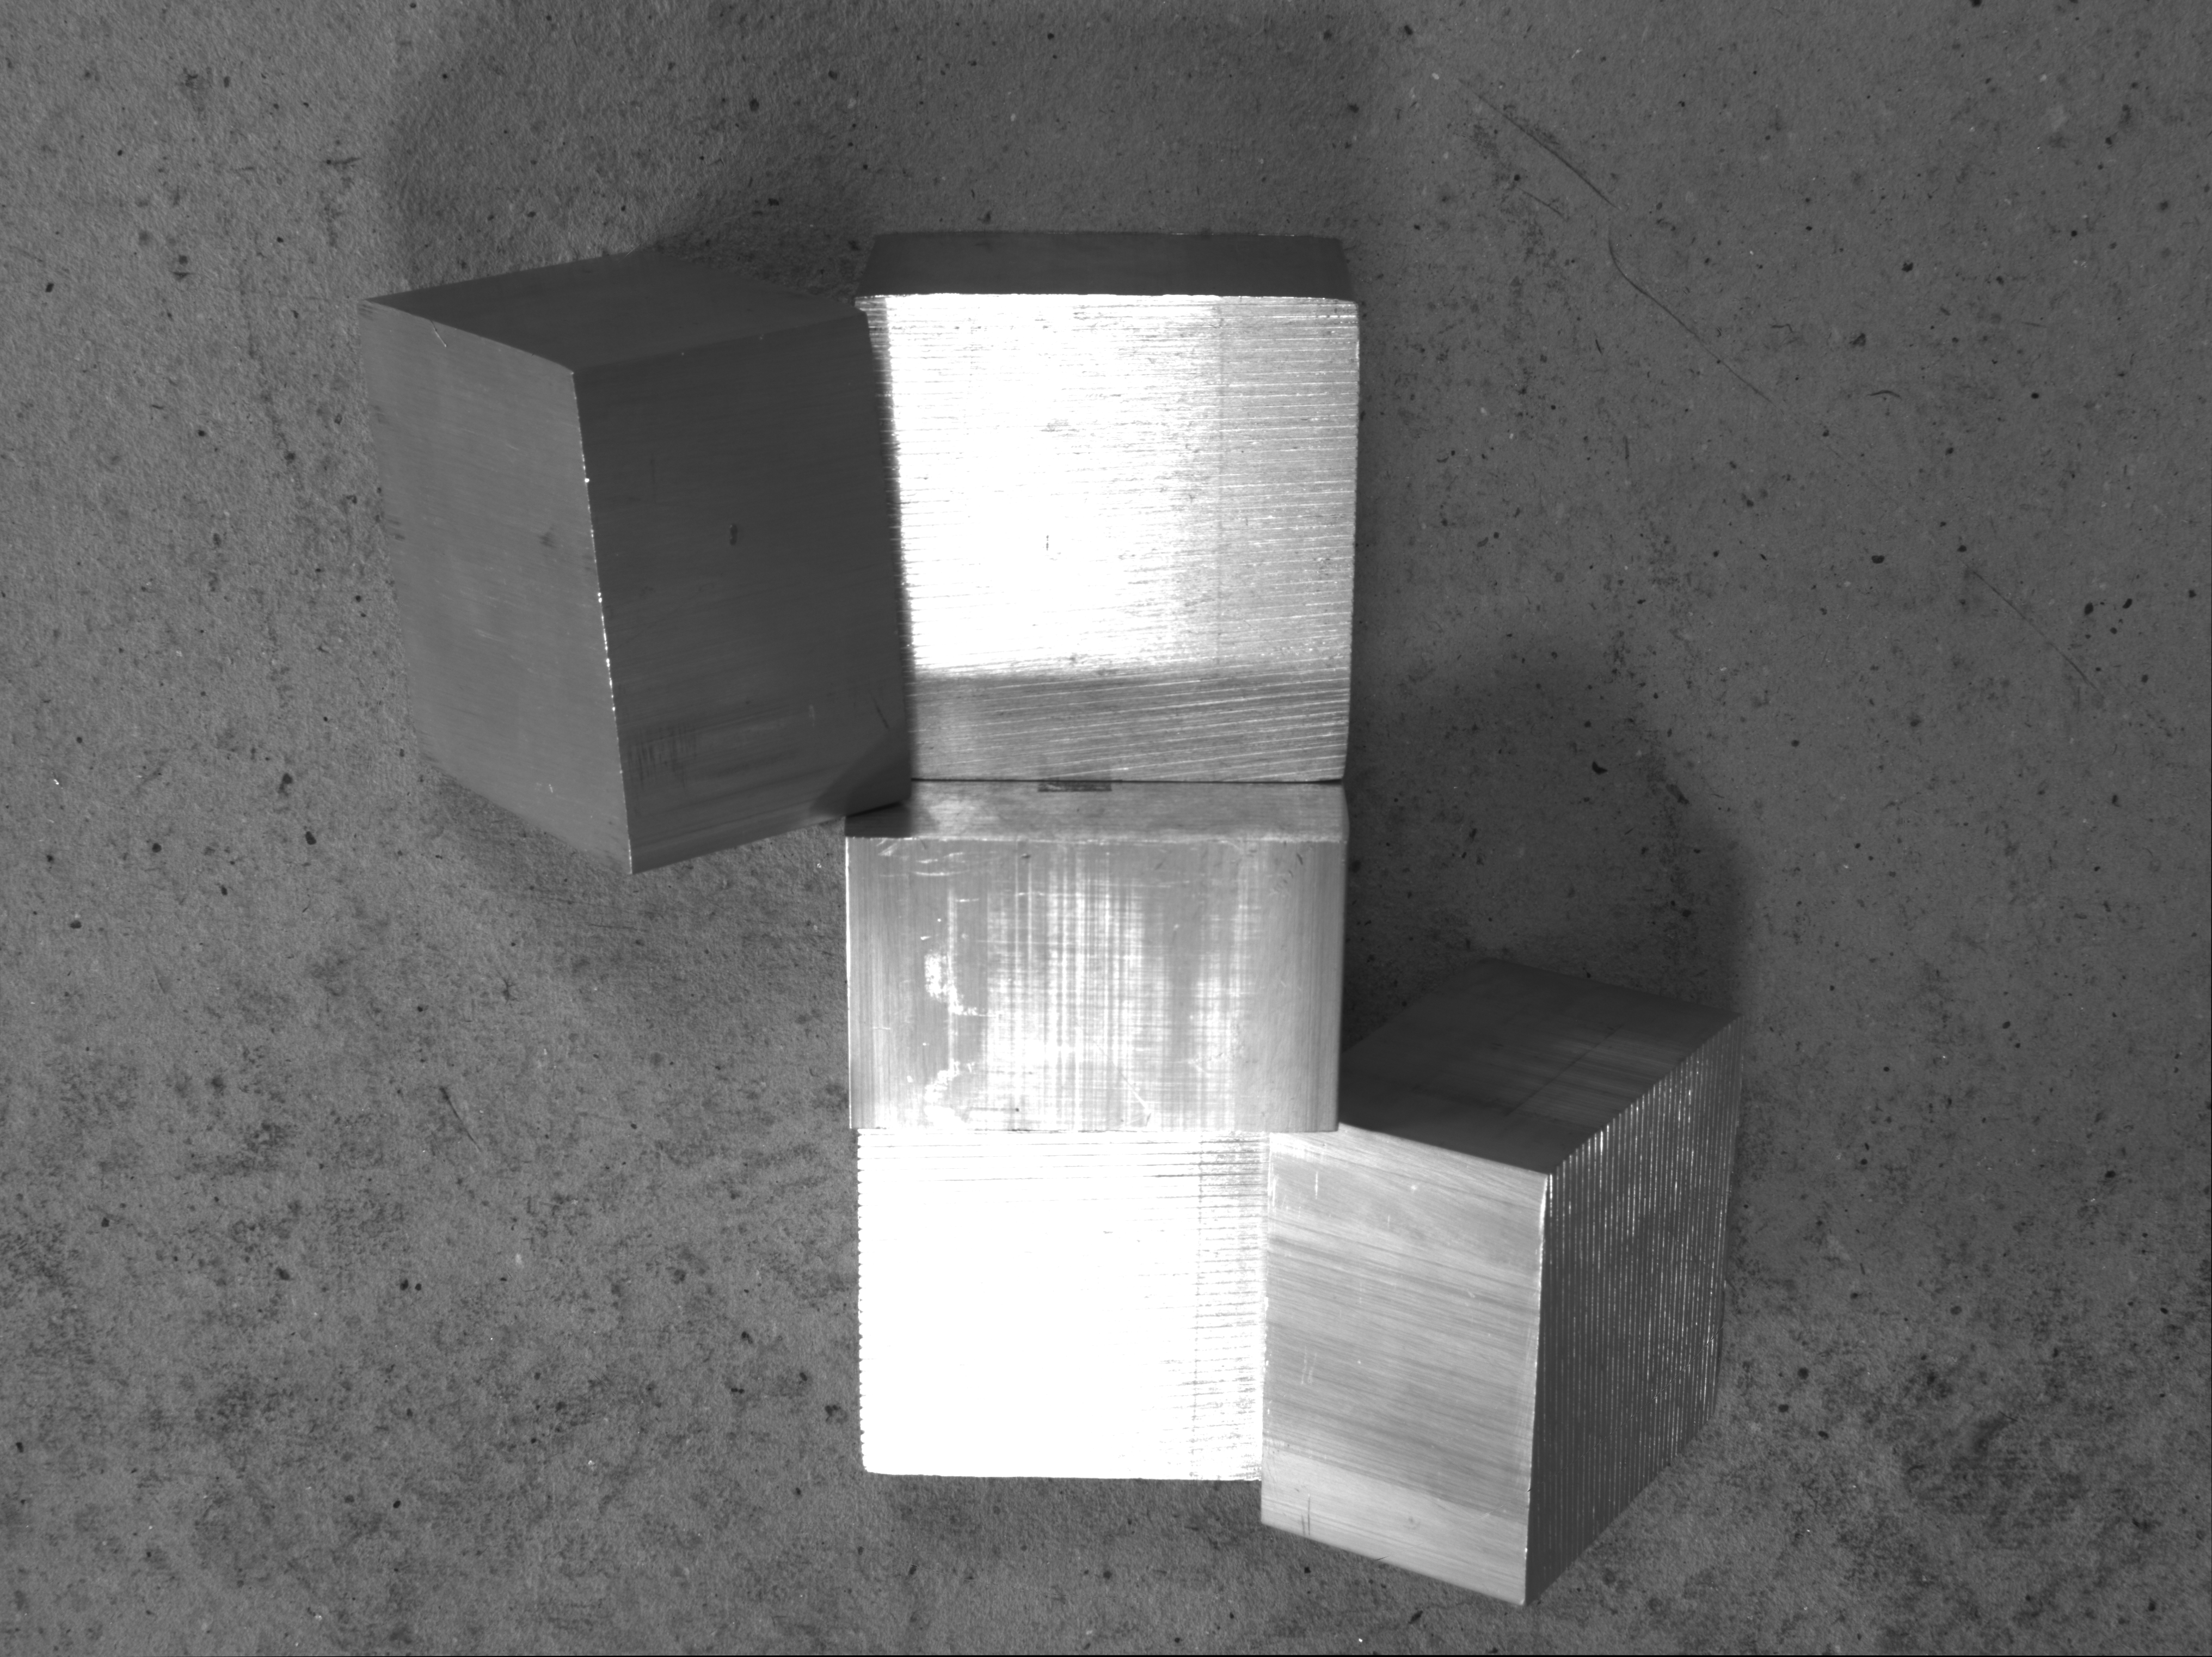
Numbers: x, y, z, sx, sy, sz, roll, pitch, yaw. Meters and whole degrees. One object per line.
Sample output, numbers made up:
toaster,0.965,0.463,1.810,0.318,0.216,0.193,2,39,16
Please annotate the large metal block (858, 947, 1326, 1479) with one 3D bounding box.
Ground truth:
large metal block,-0.002,0.068,0.655,0.080,0.050,0.080,1,111,0

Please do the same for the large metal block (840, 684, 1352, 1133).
large metal block,-0.001,0.012,0.619,0.080,0.080,0.050,0,110,0

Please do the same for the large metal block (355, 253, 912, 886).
large metal block,-0.076,-0.045,0.590,0.050,0.080,0.080,-16,113,-31

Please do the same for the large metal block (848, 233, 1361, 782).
large metal block,0.000,-0.054,0.609,0.080,0.050,0.080,1,109,0

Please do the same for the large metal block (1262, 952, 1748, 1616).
large metal block,0.069,0.076,0.635,0.050,0.080,0.080,12,113,30
